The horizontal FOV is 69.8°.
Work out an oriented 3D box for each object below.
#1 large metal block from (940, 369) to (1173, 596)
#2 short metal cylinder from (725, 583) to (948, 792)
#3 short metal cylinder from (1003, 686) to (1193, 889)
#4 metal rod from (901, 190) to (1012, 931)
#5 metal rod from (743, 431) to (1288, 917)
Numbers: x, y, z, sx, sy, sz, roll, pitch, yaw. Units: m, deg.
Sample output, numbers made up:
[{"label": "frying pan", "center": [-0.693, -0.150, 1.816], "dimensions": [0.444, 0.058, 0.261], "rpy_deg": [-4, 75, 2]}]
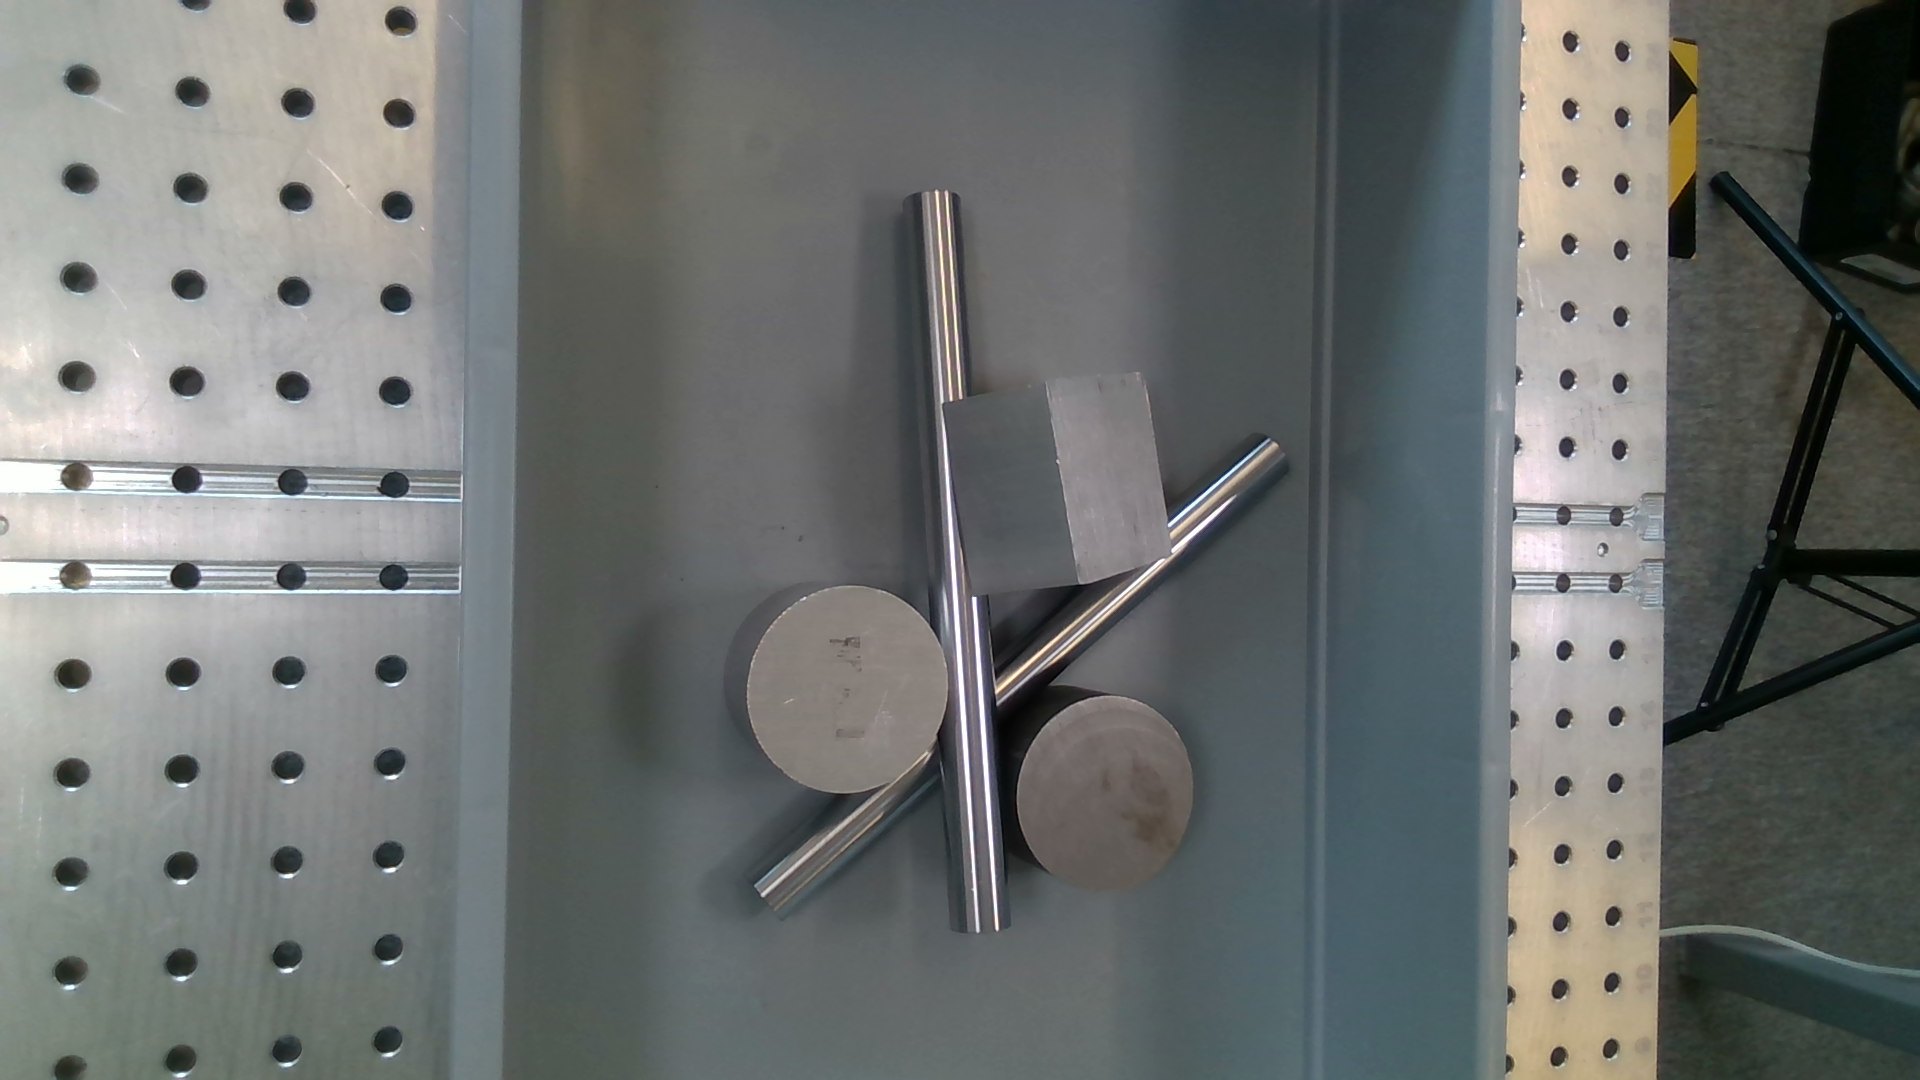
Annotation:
[{"label": "large metal block", "center": [0.042, -0.025, 0.568], "dimensions": [0.080, 0.050, 0.080], "rpy_deg": [-14, 96, -55]}, {"label": "short metal cylinder", "center": [-0.051, 0.057, 0.553], "dimensions": [0.080, 0.050, 0.080], "rpy_deg": [0, 90, -20]}, {"label": "short metal cylinder", "center": [0.052, 0.104, 0.592], "dimensions": [0.080, 0.050, 0.080], "rpy_deg": [0, 90, -20]}, {"label": "metal rod", "center": [-0.002, 0.006, 0.566], "dimensions": [0.025, 0.025, 0.300], "rpy_deg": [-2, 85, -20]}, {"label": "metal rod", "center": [0.031, 0.052, 0.597], "dimensions": [0.300, 0.025, 0.025], "rpy_deg": [-40, 103, -16]}]
